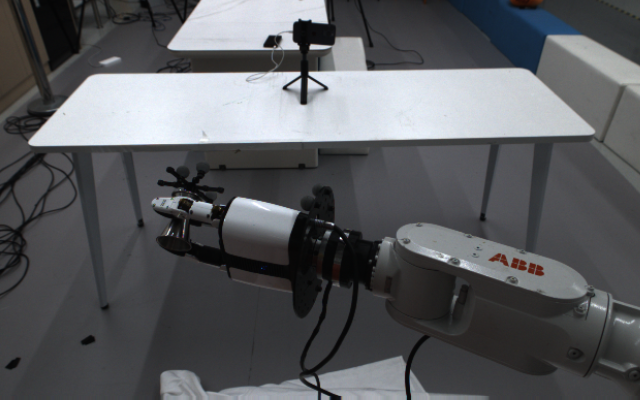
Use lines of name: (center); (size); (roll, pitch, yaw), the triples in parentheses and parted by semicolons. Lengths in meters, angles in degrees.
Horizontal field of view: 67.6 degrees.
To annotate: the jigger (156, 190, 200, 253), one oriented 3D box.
jigger: (-0.181, 0.025, 0.619); (0.043, 0.043, 0.071); (6, 60, 6)
